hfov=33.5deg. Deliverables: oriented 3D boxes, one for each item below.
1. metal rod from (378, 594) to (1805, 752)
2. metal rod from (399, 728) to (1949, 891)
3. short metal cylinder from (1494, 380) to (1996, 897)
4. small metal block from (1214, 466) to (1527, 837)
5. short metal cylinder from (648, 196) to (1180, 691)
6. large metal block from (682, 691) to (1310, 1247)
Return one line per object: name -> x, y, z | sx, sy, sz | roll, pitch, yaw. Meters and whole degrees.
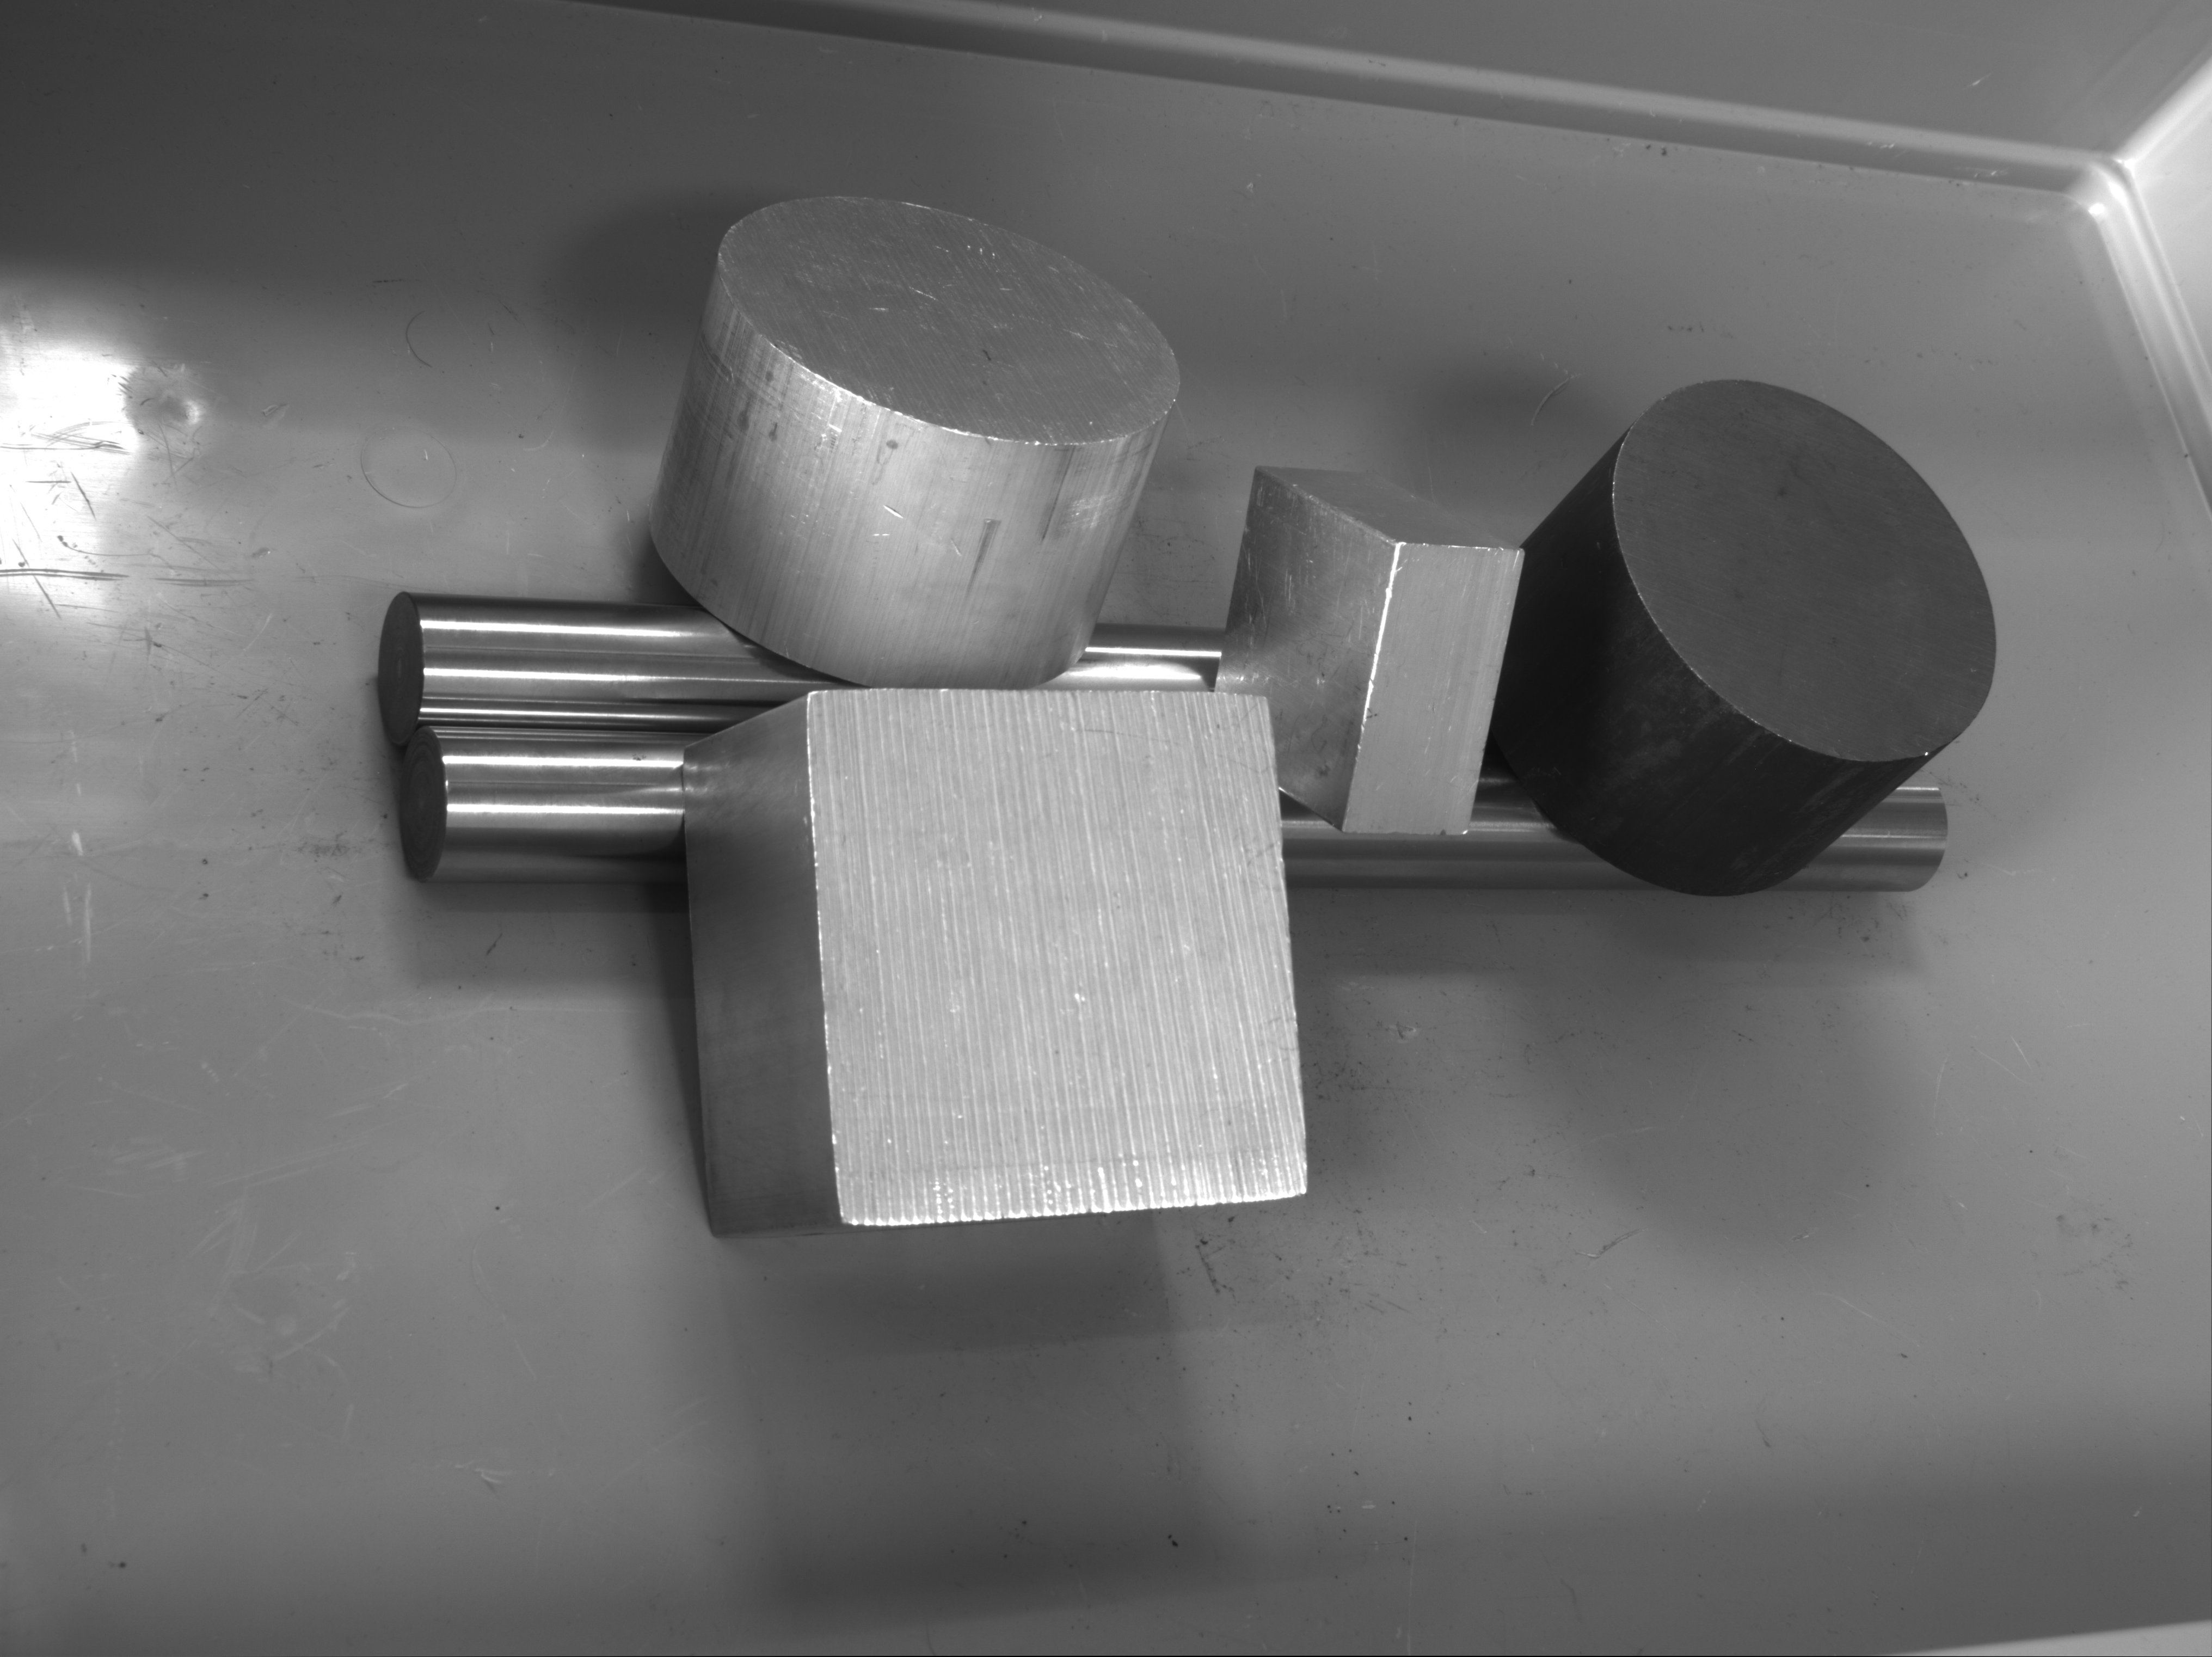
metal rod -> 0.019, -0.024, 0.663 | 0.301, 0.025, 0.025 | 1, 61, -28
metal rod -> 0.024, -0.002, 0.653 | 0.301, 0.025, 0.025 | 1, 61, -28
short metal cylinder -> 0.115, -0.035, 0.672 | 0.080, 0.050, 0.080 | 13, 56, -21
small metal block -> 0.043, -0.031, 0.628 | 0.025, 0.050, 0.050 | 1, 19, -28
short metal cylinder -> -0.033, -0.066, 0.626 | 0.080, 0.050, 0.080 | 14, 33, -9
large metal block -> -0.018, 0.022, 0.581 | 0.080, 0.050, 0.080 | -1, 82, -28
